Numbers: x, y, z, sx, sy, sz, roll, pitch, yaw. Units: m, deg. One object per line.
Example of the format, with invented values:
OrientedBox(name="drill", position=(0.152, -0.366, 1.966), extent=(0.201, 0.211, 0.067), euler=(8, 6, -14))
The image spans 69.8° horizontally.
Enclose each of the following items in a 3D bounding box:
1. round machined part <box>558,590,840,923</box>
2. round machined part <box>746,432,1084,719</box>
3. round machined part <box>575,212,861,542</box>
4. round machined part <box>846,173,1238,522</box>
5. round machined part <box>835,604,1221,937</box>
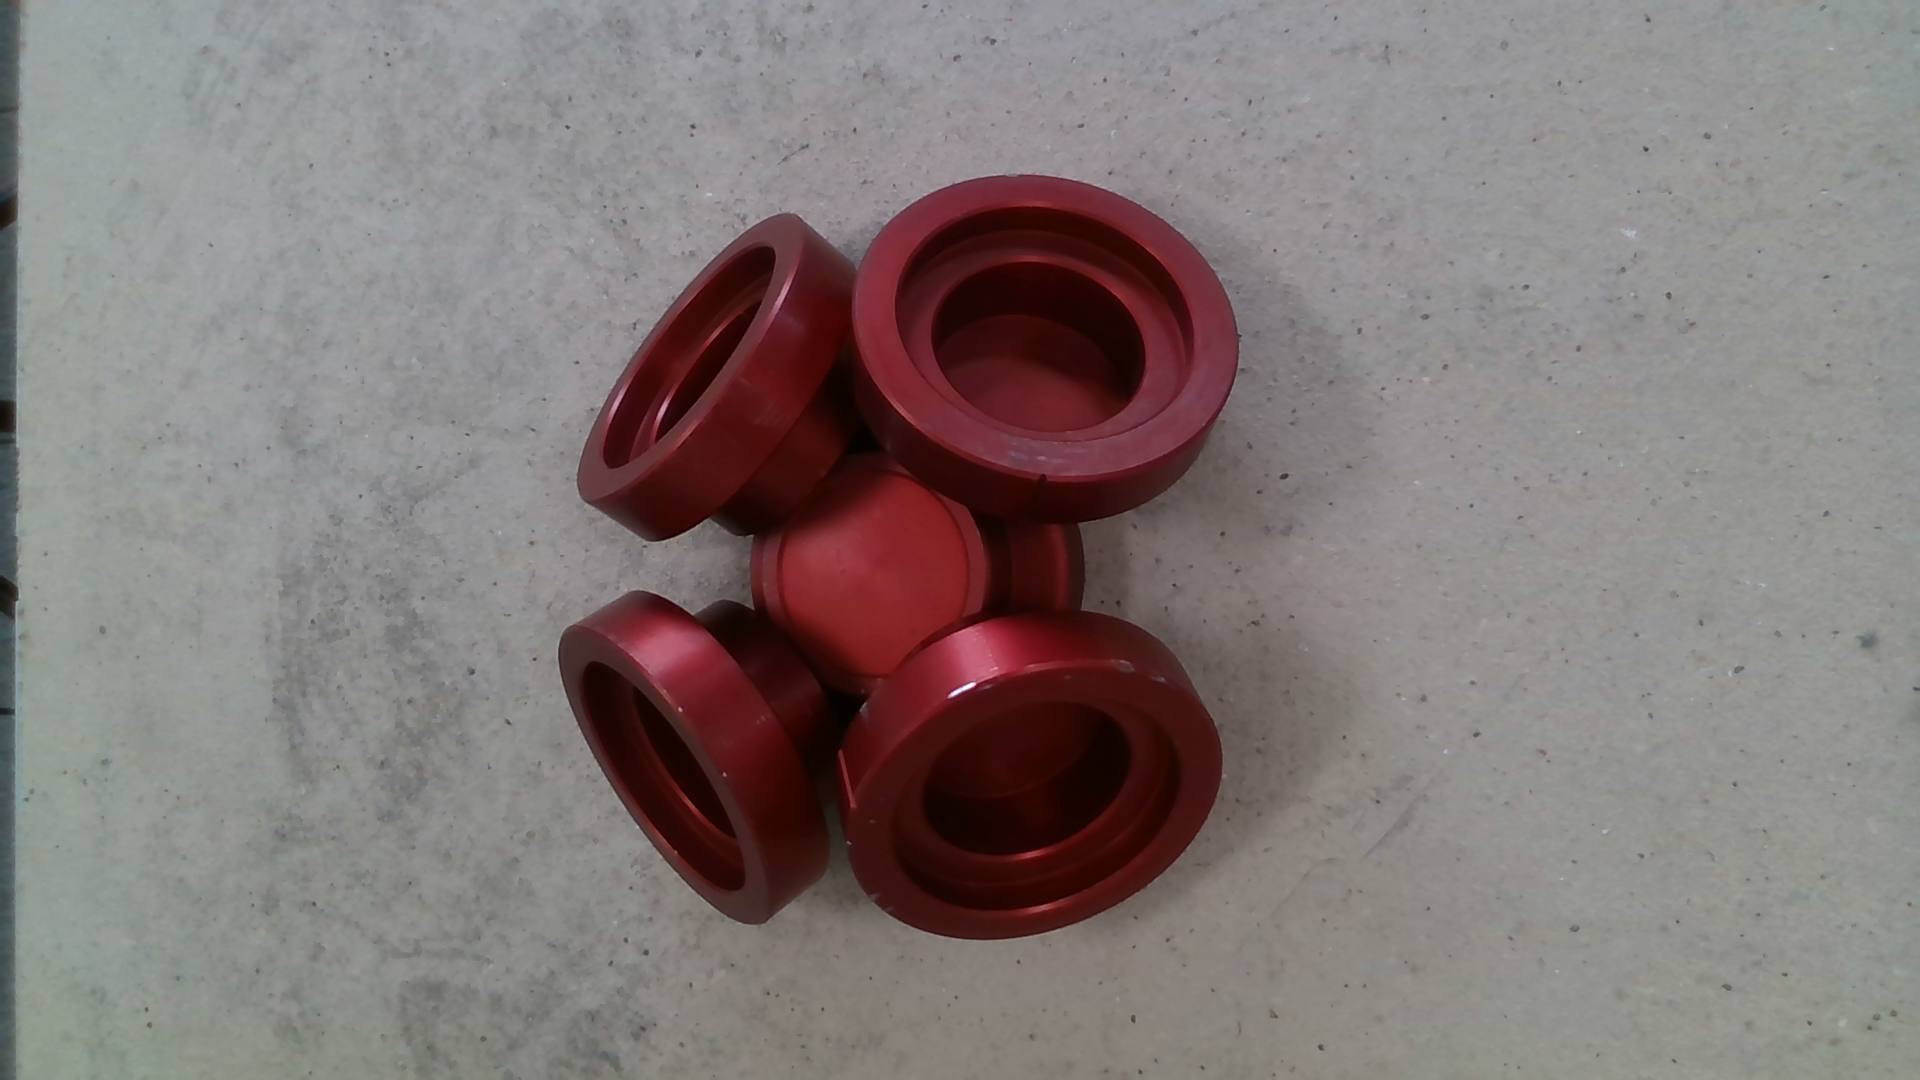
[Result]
OrientedBox(name="round machined part", position=(-0.069, 0.057, 0.394), extent=(0.098, 0.042, 0.098), euler=(35, 143, 32))
OrientedBox(name="round machined part", position=(-0.017, 0.009, 0.391), extent=(0.098, 0.042, 0.098), euler=(0, 92, 18))
OrientedBox(name="round machined part", position=(-0.062, -0.041, 0.389), extent=(0.042, 0.098, 0.098), euler=(37, 107, -28))
OrientedBox(name="round machined part", position=(0.019, -0.046, 0.361), extent=(0.098, 0.042, 0.098), euler=(4, 59, -6))
OrientedBox(name="round machined part", position=(0.015, 0.056, 0.362), extent=(0.098, 0.098, 0.042), euler=(-42, 36, 15))
